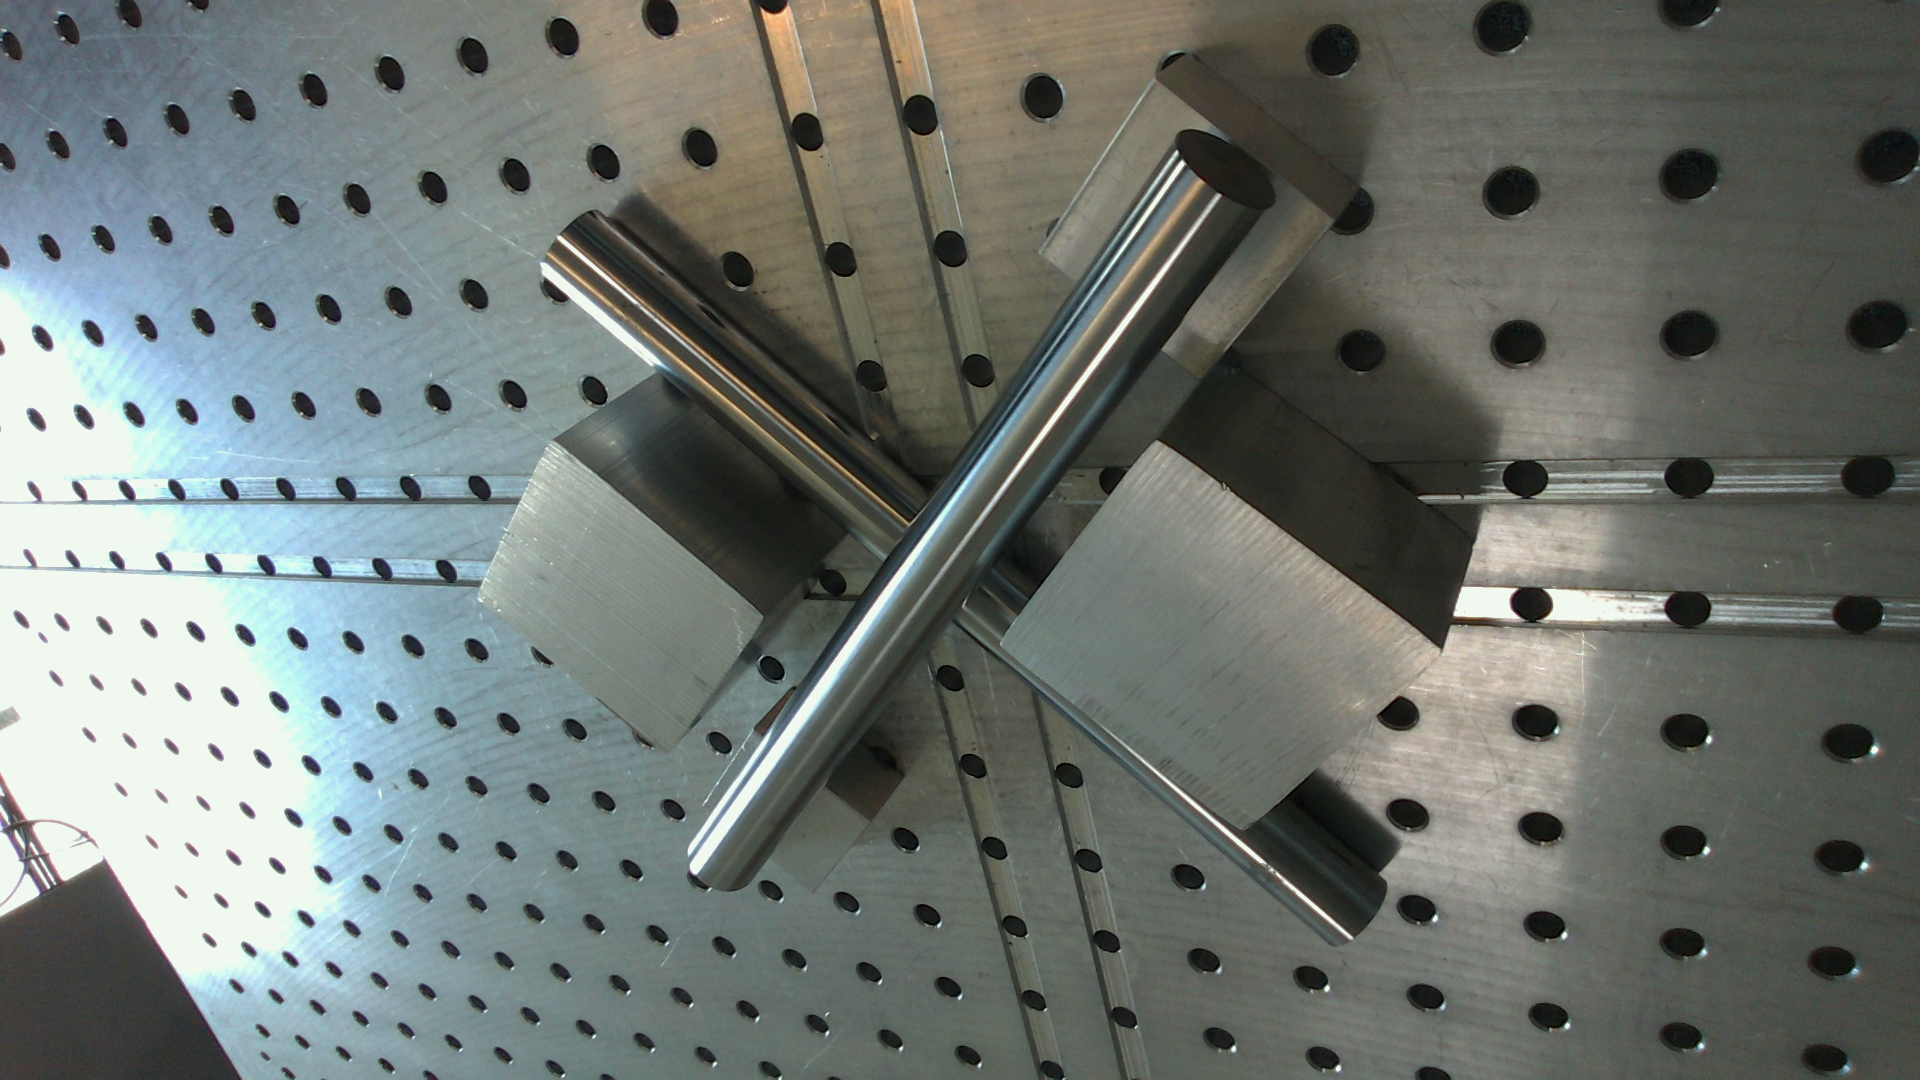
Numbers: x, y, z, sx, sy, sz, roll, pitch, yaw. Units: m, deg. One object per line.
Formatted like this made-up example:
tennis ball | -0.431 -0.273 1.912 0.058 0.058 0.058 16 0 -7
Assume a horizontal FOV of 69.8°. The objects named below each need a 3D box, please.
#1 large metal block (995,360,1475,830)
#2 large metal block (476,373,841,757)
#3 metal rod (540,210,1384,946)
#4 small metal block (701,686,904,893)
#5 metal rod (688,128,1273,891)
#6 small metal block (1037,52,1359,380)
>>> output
large metal block | 0.069 0.013 0.351 0.080 0.050 0.080 37 129 3
large metal block | -0.095 0.008 0.436 0.080 0.050 0.080 40 129 1
metal rod | 0.000 0.011 0.401 0.300 0.025 0.025 40 129 0
small metal block | -0.056 0.087 0.480 0.050 0.025 0.050 38 129 2
metal rod | -0.014 0.016 0.380 0.025 0.025 0.299 38 129 2
small metal block | 0.055 -0.075 0.321 0.050 0.025 0.050 39 129 2
